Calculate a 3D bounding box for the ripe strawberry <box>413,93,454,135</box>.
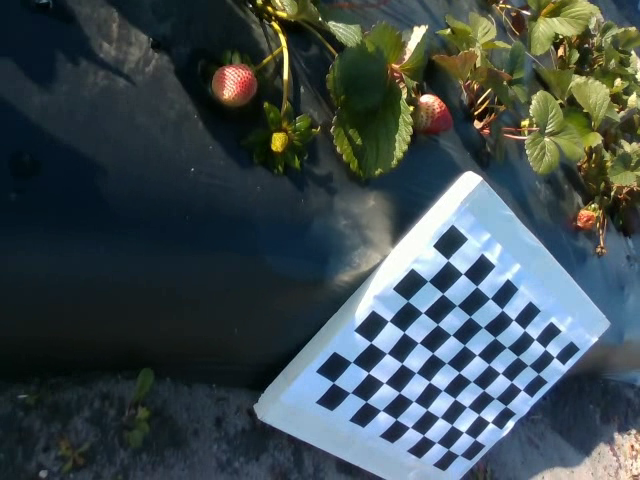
[{"bbox_3d":[0.116,-0.125,0.618,0.063,0.045,0.044,17,19,-34],"label":"ripe strawberry"}]
